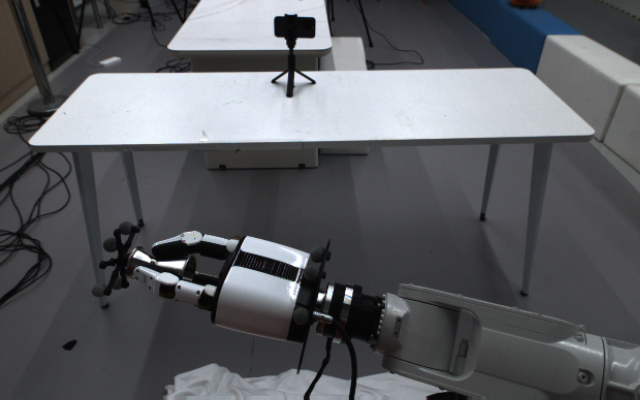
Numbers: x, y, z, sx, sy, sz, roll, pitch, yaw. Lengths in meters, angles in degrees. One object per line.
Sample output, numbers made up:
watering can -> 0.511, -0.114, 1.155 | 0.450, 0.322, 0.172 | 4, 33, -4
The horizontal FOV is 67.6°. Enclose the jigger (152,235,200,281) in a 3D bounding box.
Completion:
jigger -> -0.181, 0.079, 0.575 | 0.071, 0.043, 0.043 | 11, 35, 5
